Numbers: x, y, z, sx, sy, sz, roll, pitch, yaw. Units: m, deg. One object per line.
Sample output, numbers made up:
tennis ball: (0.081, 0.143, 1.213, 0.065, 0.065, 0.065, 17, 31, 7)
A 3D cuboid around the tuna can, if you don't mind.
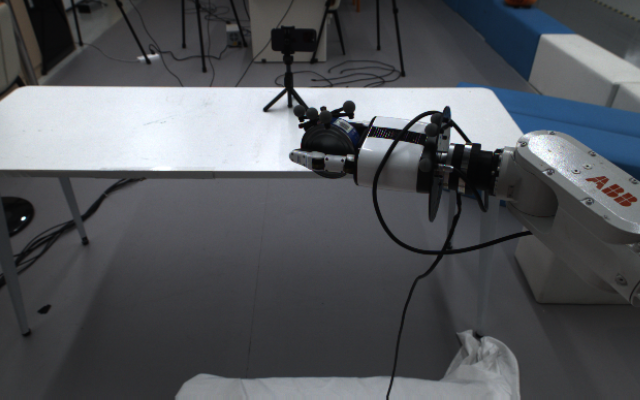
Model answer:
tuna can: (0.018, -0.077, 0.705, 0.085, 0.085, 0.034, 17, 36, 20)
